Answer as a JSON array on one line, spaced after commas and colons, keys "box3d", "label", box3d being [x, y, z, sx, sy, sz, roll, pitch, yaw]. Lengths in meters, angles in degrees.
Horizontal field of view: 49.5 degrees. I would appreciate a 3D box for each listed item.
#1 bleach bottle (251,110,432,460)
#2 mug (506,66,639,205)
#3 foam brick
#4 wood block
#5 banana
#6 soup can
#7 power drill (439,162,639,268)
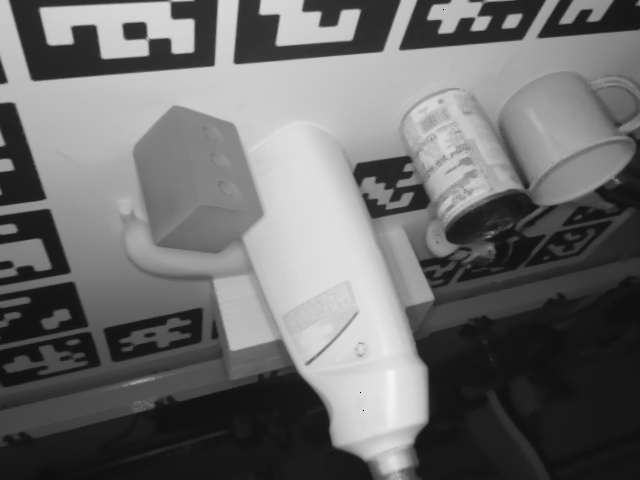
[{"box3d": [0.012, 0.031, 0.490, 0.069, 0.251, 0.101, 10, 139, -40], "label": "bleach bottle"}, {"box3d": [0.216, -0.096, 0.571, 0.116, 0.081, 0.094, -38, 142, 22], "label": "mug"}, {"box3d": [-0.082, -0.053, 0.476, 0.053, 0.078, 0.050, 12, 139, -44], "label": "foam brick"}, {"box3d": [0.011, 0.065, 0.700, 0.208, 0.091, 0.089, -11, 146, -15], "label": "wood block"}, {"box3d": [-0.062, 0.011, 0.617, 0.200, 0.039, 0.073, 1, 129, -28], "label": "banana"}, {"box3d": [0.116, -0.063, 0.536, 0.068, 0.102, 0.067, -13, 152, -6], "label": "soup can"}, {"box3d": [0.239, -0.036, 0.711, 0.187, 0.057, 0.184, 12, 138, -37], "label": "power drill"}]
